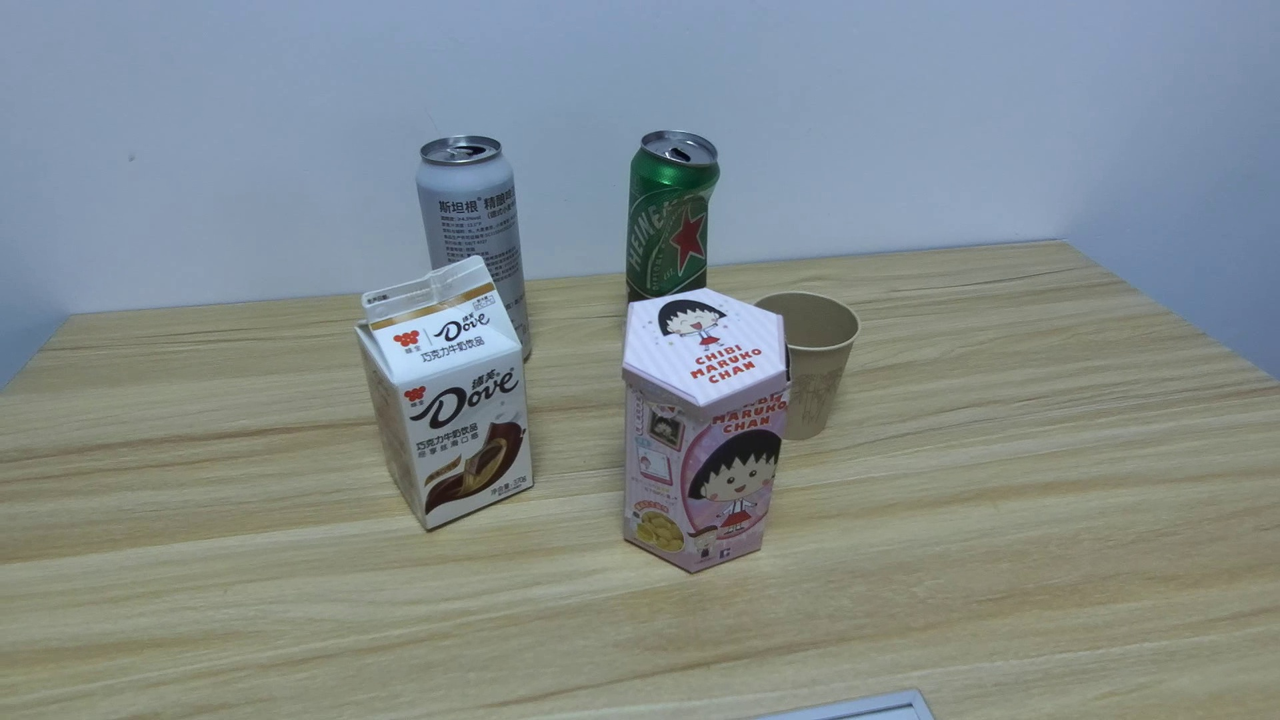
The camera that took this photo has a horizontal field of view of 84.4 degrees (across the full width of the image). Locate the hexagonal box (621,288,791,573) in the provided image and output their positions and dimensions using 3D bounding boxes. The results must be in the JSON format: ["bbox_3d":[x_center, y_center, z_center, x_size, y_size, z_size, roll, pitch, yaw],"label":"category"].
[{"bbox_3d":[0.032,0.039,0.389,0.092,0.135,0.084,-14,38,-19],"label":"hexagonal box"}]

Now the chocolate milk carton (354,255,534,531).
[{"bbox_3d":[-0.115,0.014,0.417,0.076,0.148,0.073,-19,39,-29],"label":"chocolate milk carton"}]

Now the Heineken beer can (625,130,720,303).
[{"bbox_3d":[0.025,-0.081,0.534,0.068,0.168,0.069,-5,36,-12],"label":"Heineken beer can"}]

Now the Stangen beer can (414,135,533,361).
[{"bbox_3d":[-0.120,-0.074,0.526,0.067,0.171,0.067,0,34,1],"label":"Stangen beer can"}]

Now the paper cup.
[{"bbox_3d":[0.106,0.007,0.482,0.075,0.082,0.075,0,35,0],"label":"paper cup"}]
